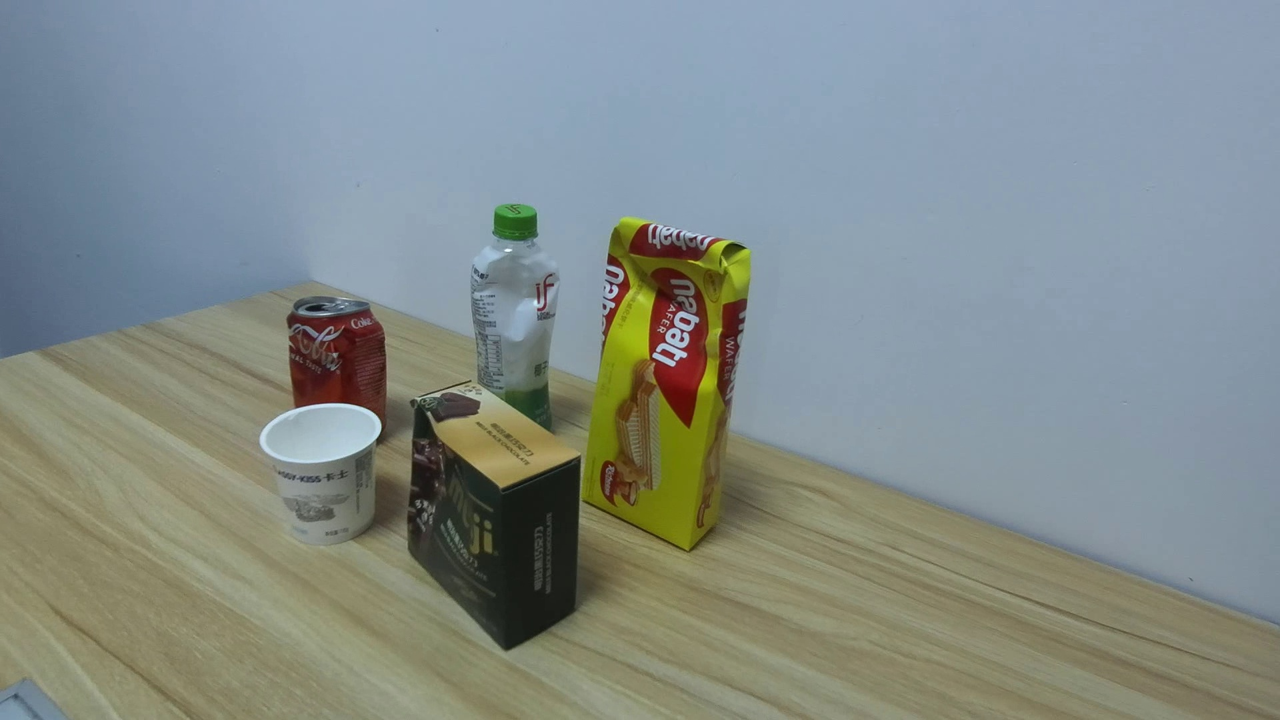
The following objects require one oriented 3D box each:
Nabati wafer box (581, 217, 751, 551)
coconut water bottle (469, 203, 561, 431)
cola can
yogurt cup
[{"bbox_3d":[0.014,0.017,0.461,0.113,0.205,0.043,18,26,30],"label":"Nabati wafer box"},{"bbox_3d":[-0.097,-0.023,0.544,0.069,0.187,0.069,5,22,-2],"label":"coconut water bottle"},{"bbox_3d":[-0.230,0.010,0.540,0.066,0.112,0.069,-15,29,-36],"label":"cola can"},{"bbox_3d":[-0.200,0.074,0.452,0.072,0.068,0.072,4,26,-2],"label":"yogurt cup"}]
